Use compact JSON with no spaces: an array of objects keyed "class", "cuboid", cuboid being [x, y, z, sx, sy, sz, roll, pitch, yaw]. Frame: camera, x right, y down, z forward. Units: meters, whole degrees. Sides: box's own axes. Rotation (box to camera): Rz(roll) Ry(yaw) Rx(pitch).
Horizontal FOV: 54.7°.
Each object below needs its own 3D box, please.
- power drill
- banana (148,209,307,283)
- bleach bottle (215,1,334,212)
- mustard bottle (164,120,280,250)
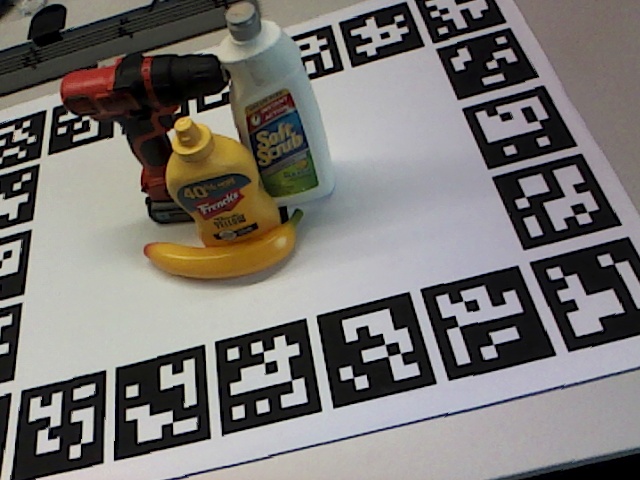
[{"class":"power drill","cuboid":[-0.165,-0.118,0.686,0.185,0.186,0.057,-3,58,12]},{"class":"banana","cuboid":[-0.108,0.014,0.717,0.198,0.038,0.074,-11,58,11]},{"class":"bleach bottle","cuboid":[-0.057,-0.135,0.663,0.103,0.249,0.068,-11,51,8]},{"class":"mustard bottle","cuboid":[-0.111,-0.058,0.659,0.096,0.190,0.058,-13,57,6]}]
